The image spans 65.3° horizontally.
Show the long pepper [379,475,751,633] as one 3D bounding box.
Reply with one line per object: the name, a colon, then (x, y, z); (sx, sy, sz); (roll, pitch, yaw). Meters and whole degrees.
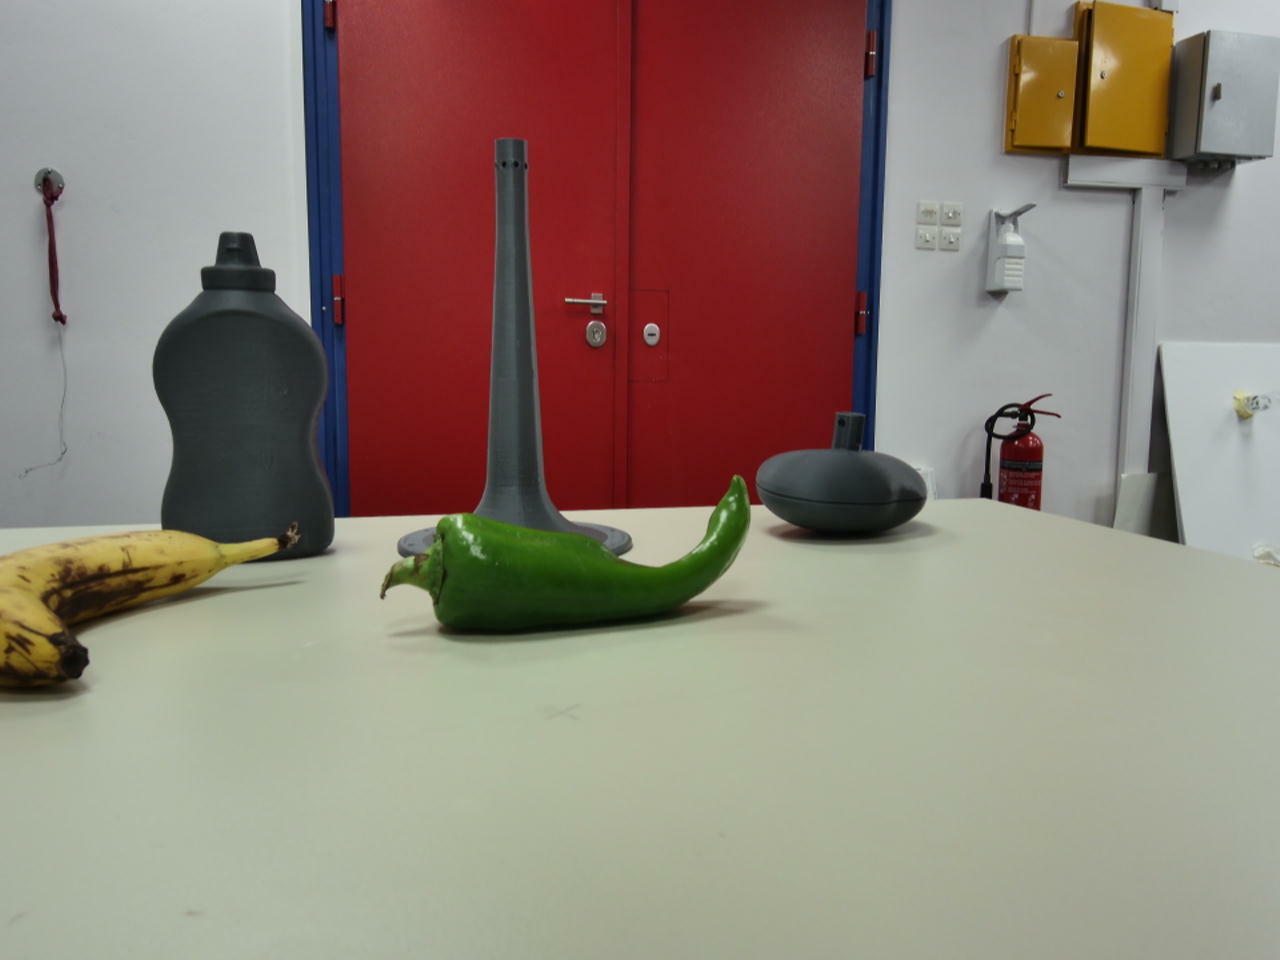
long pepper: (-0.028, 0.033, 0.455); (0.175, 0.065, 0.058); (-2, 4, -15)
